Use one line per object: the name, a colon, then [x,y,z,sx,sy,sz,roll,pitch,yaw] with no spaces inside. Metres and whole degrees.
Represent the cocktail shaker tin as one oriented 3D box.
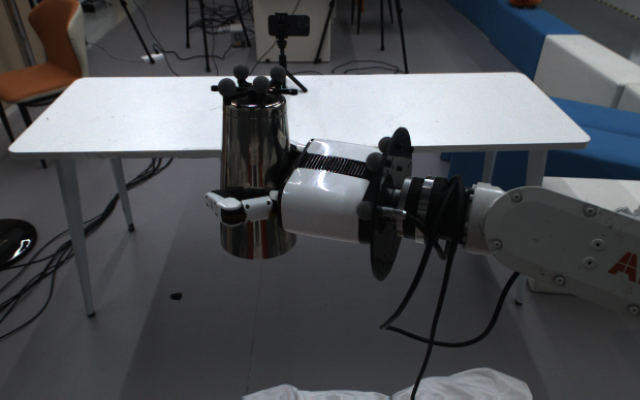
cocktail shaker tin: [-0.068,-0.029,0.541,0.093,0.170,0.093,2,28,-1]
